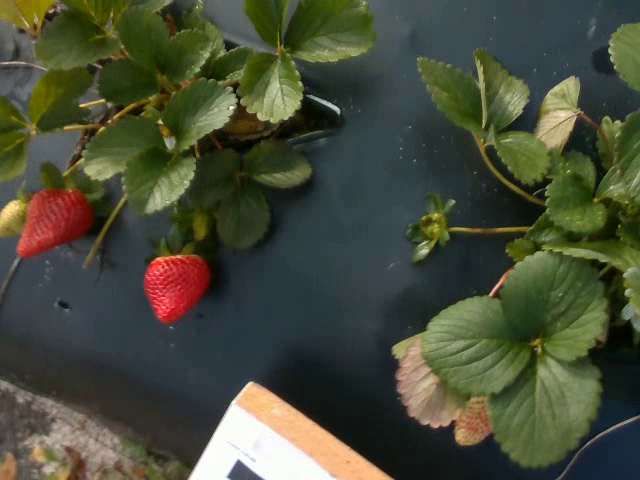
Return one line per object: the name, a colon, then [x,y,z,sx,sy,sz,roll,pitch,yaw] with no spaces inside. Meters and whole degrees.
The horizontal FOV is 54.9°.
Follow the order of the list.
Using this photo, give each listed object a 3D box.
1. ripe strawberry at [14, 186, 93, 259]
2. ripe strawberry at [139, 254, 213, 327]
ripe strawberry: [-0.130,-0.011,0.284,0.035,0.036,0.041,22,-31,20]
ripe strawberry: [-0.069,0.022,0.274,0.033,0.039,0.038,27,-41,-12]
